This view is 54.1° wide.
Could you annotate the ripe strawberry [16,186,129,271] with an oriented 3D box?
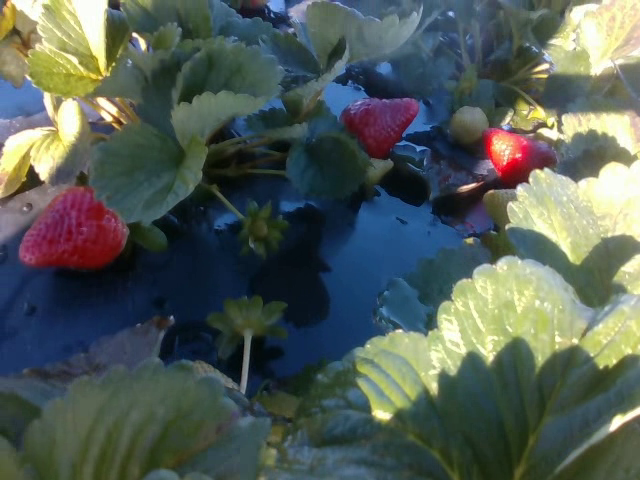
[{"bbox_3d":[-0.116,-0.003,0.285,0.046,0.042,0.059,-5,32,45],"label":"ripe strawberry"}]
